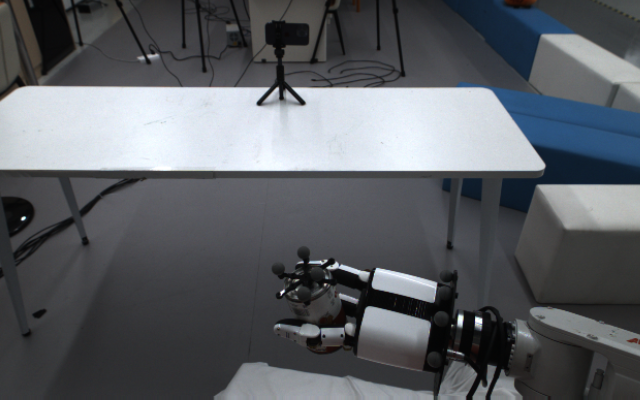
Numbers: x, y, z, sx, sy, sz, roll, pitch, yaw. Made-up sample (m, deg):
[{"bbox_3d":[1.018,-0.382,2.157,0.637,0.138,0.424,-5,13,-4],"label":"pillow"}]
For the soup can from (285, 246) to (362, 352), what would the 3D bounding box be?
[{"bbox_3d":[-0.001,0.145,0.642,0.067,0.101,0.067,-14,31,8],"label":"soup can"}]
